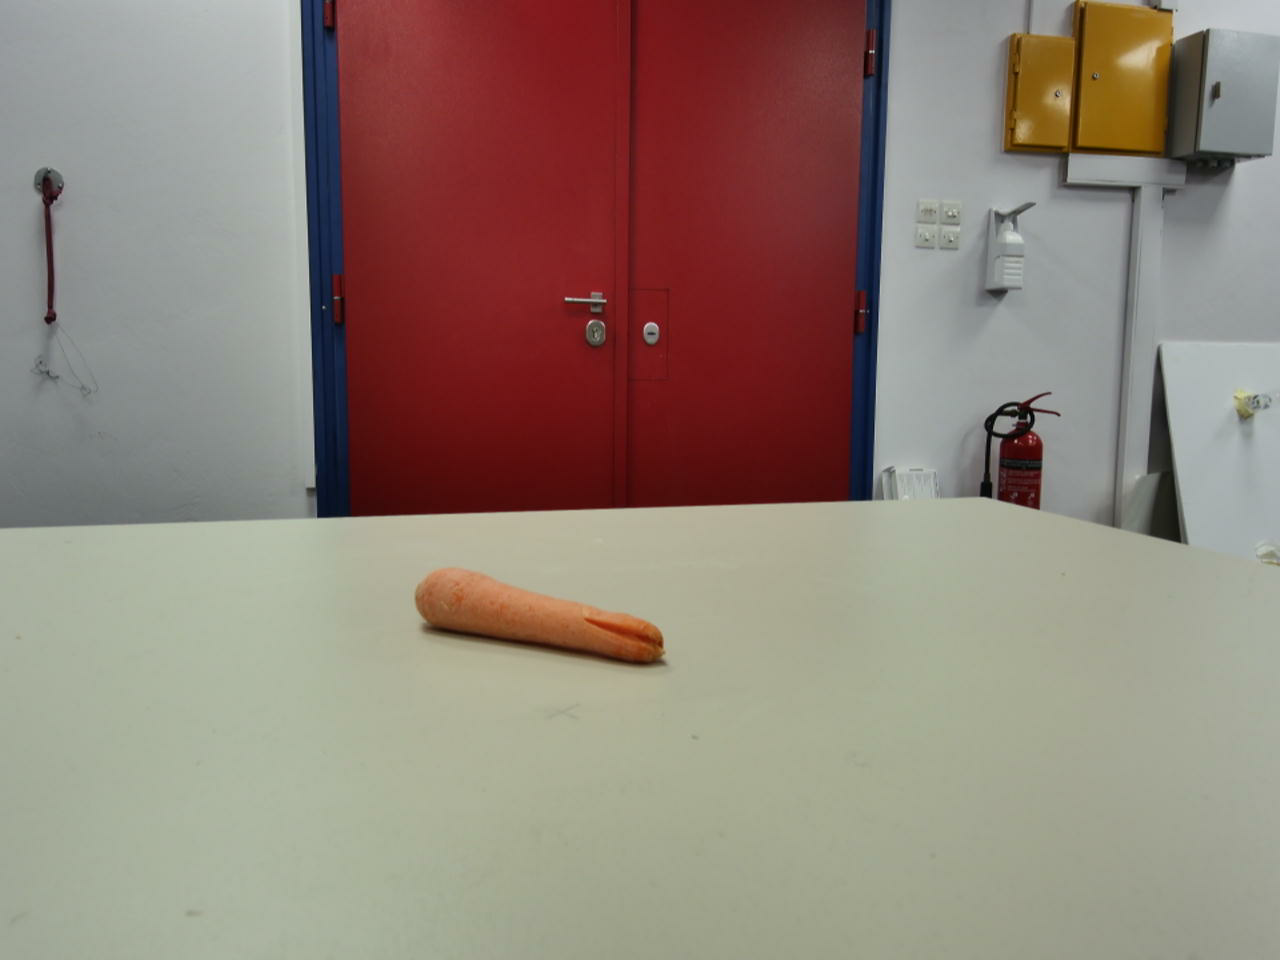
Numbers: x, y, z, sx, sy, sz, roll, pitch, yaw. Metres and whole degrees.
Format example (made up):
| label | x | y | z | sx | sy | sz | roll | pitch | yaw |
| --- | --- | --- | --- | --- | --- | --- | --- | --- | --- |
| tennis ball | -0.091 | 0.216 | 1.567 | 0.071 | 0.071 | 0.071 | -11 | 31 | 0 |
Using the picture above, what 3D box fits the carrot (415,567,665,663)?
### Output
| label | x | y | z | sx | sy | sz | roll | pitch | yaw |
| --- | --- | --- | --- | --- | --- | --- | --- | --- | --- |
| carrot | -0.049 | 0.060 | 0.457 | 0.136 | 0.032 | 0.030 | 3 | 5 | 32 |
